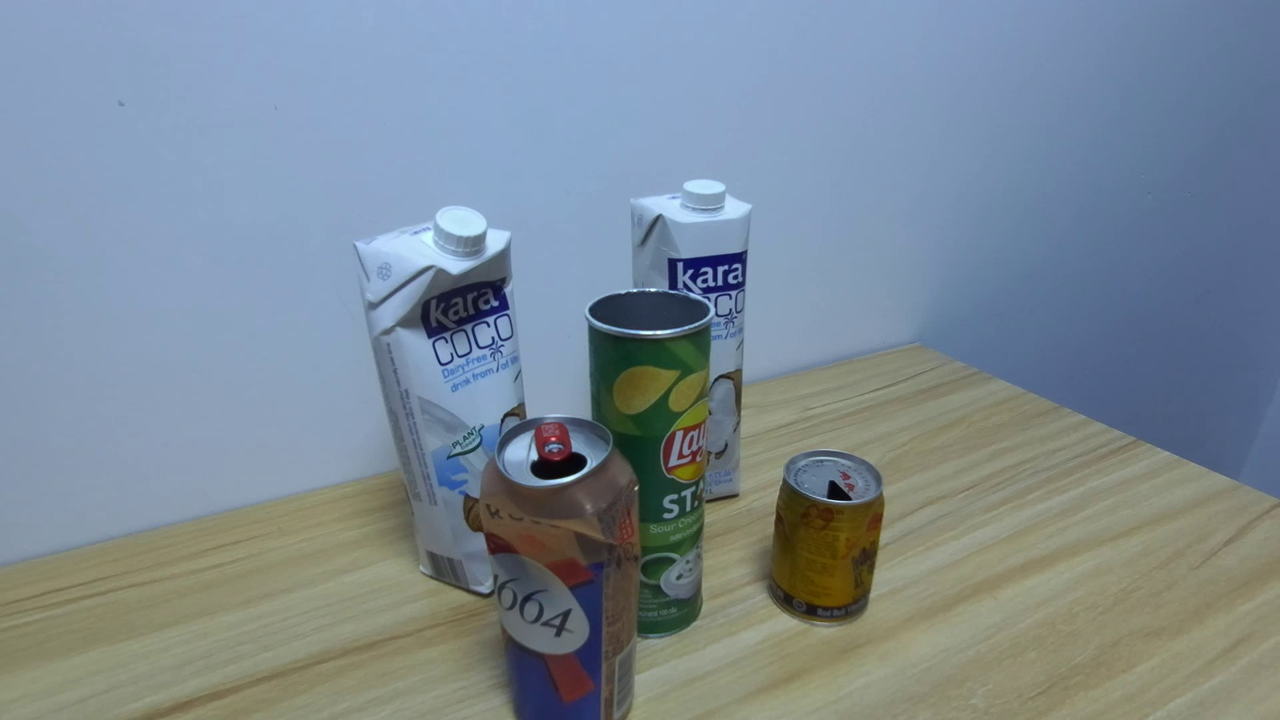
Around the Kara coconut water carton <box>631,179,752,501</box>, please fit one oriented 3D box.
[{"bbox_3d":[0.037,-0.010,0.531,0.077,0.245,0.075,-10,25,-19],"label":"Kara coconut water carton"}]

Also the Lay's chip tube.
[{"bbox_3d":[0.007,0.062,0.418,0.071,0.202,0.071,0,26,0],"label":"Lay's chip tube"}]

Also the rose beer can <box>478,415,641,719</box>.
[{"bbox_3d":[-0.039,0.114,0.354,0.075,0.167,0.065,21,33,36],"label":"rose beer can"}]

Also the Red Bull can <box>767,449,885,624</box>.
[{"bbox_3d":[0.117,0.111,0.447,0.069,0.092,0.069,0,24,0],"label":"Red Bull can"}]

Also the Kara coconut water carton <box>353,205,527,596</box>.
[{"bbox_3d":[-0.114,0.025,0.457,0.071,0.244,0.100,11,29,29],"label":"Kara coconut water carton"}]
